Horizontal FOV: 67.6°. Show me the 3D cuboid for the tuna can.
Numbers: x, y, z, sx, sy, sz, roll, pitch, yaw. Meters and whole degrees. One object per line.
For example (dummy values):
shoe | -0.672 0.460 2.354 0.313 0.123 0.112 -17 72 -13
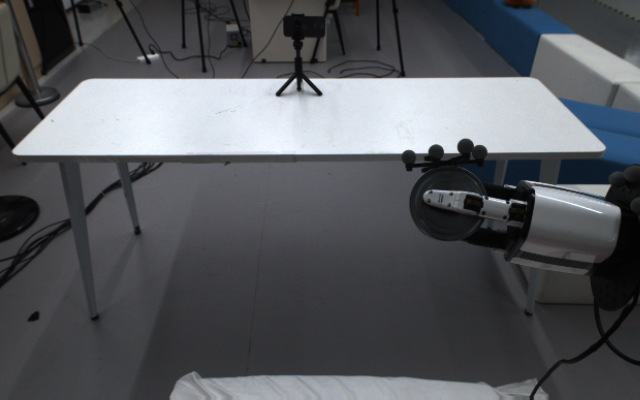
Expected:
tuna can | 0.148 0.002 0.556 0.085 0.085 0.034 11 -7 12
